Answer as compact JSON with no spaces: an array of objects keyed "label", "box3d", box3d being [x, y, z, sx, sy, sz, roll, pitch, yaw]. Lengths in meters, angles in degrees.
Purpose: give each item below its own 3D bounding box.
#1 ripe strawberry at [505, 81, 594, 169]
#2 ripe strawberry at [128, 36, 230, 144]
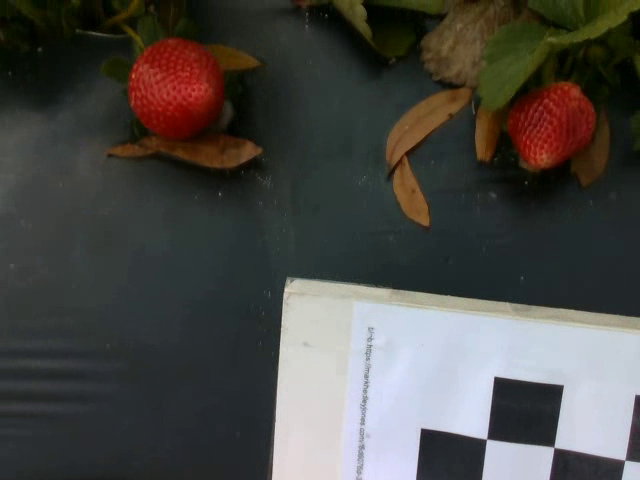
[{"label":"ripe strawberry","box3d":[0.092,-0.041,0.233,0.040,0.042,0.037,16,-37,6]},{"label":"ripe strawberry","box3d":[-0.059,-0.062,0.255,0.042,0.047,0.065,2,15,-30]}]
